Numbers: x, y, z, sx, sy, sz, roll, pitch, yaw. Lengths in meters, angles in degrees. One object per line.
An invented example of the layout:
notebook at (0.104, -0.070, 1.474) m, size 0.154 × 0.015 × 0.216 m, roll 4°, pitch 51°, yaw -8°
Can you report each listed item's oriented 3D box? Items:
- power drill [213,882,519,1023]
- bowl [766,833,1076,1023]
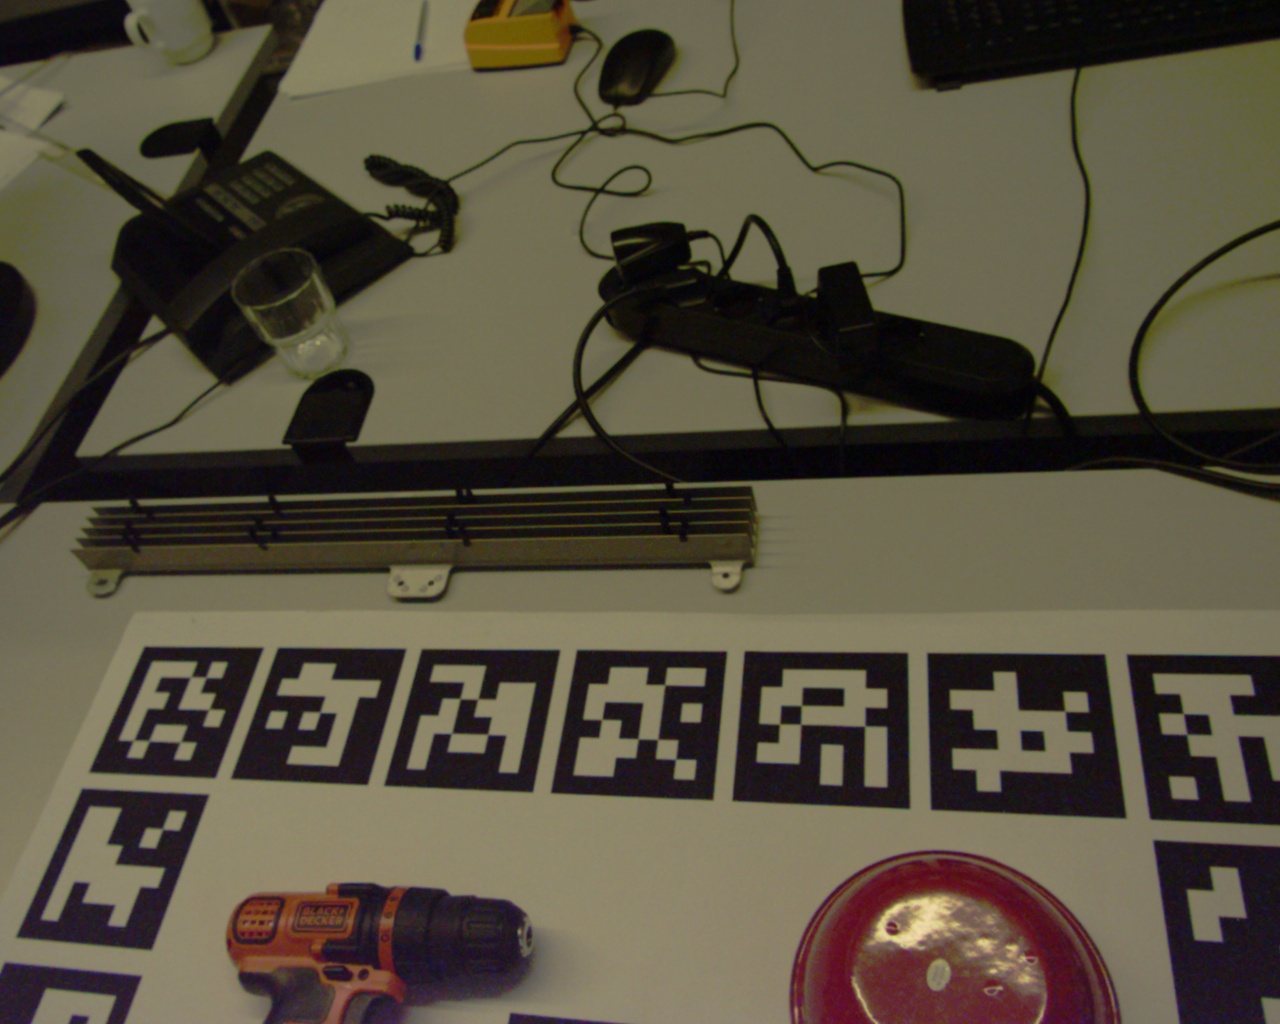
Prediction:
power drill at (-0.169, 0.299, 0.631) m, size 0.185 × 0.057 × 0.187 m, roll -1°, pitch 51°, yaw 11°
bowl at (0.143, 0.231, 0.601) m, size 0.162 × 0.055 × 0.162 m, roll -11°, pitch 44°, yaw 10°
